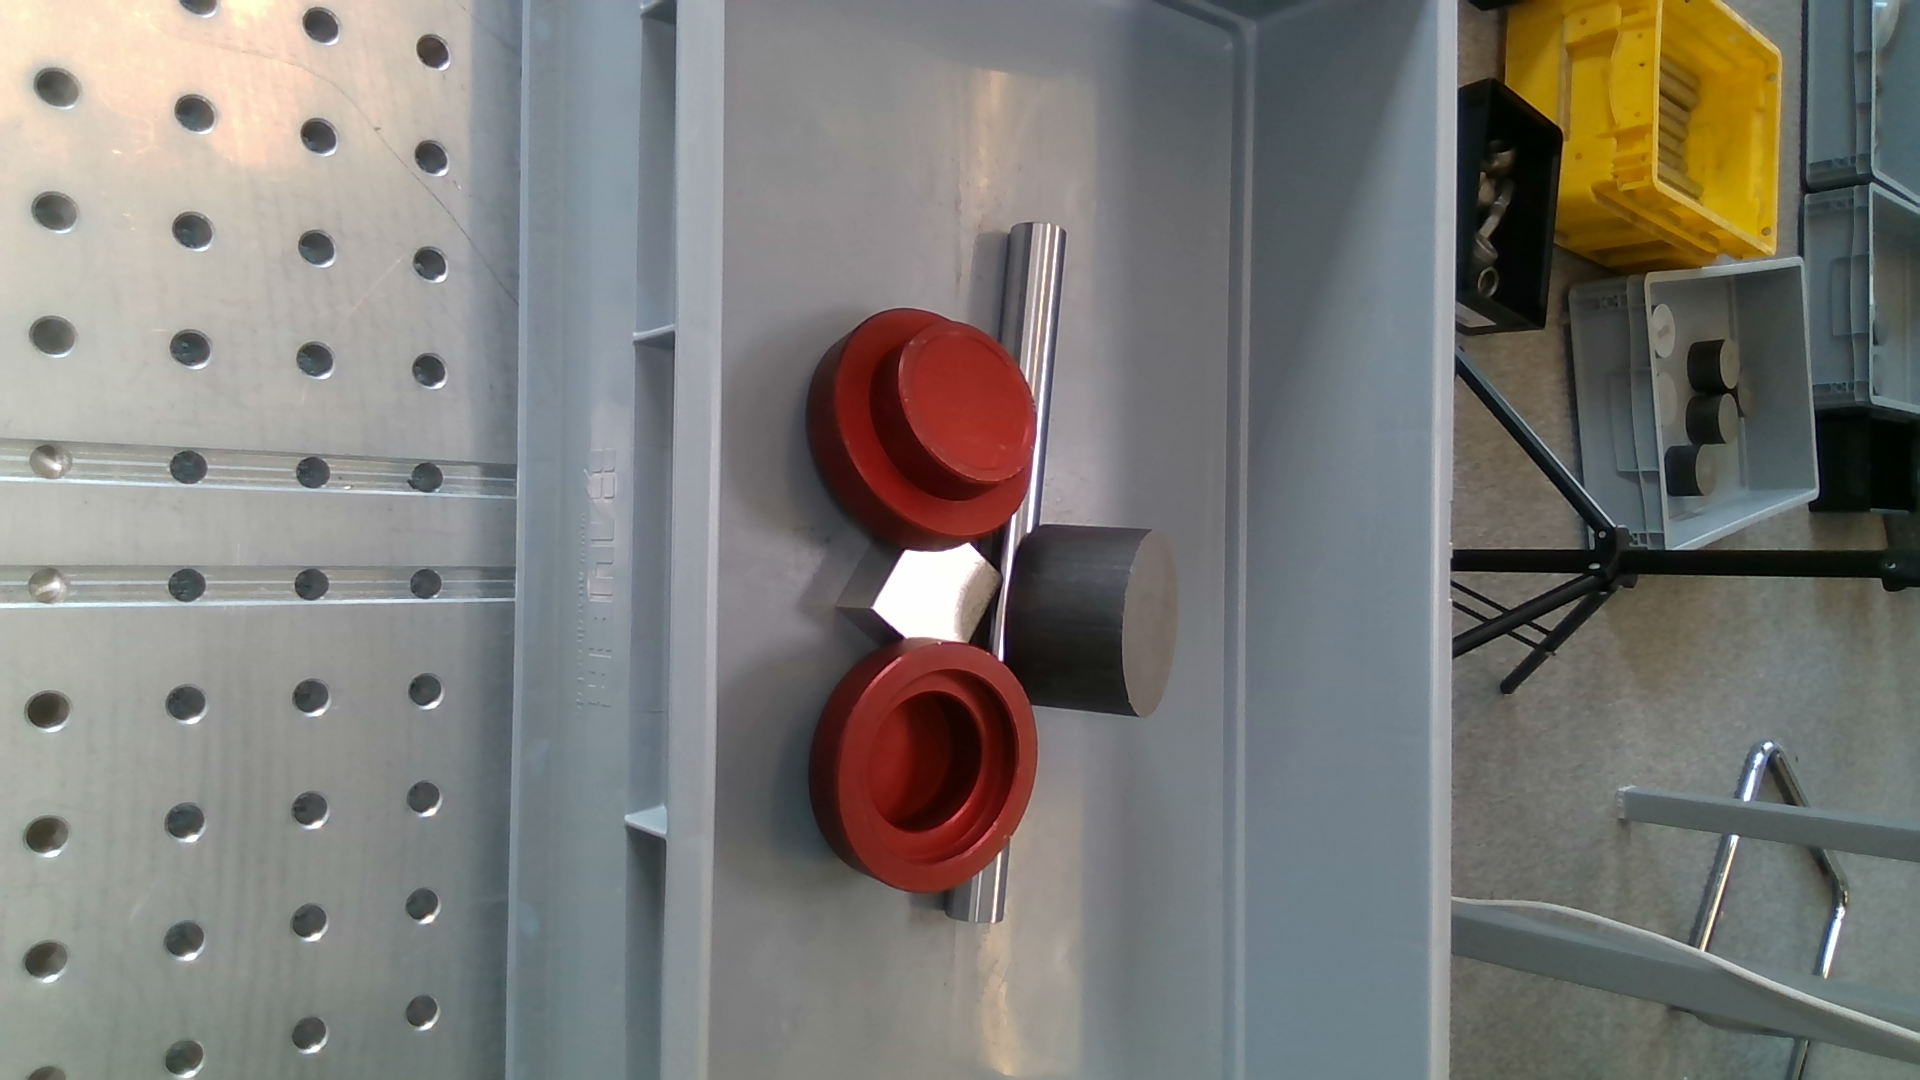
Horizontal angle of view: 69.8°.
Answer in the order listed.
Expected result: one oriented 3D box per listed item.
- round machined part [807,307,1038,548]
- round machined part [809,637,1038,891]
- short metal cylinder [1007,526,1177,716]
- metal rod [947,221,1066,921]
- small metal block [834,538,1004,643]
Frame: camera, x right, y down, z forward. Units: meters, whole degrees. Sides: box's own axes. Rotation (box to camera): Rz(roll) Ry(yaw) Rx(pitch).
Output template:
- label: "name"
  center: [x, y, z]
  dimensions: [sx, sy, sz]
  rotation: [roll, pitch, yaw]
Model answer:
- label: "round machined part"
  center: [-0.008, -0.048, 0.547]
  dimensions: [0.098, 0.042, 0.098]
  rotation: [16, 62, -34]
- label: "round machined part"
  center: [-0.019, 0.087, 0.552]
  dimensions: [0.098, 0.042, 0.098]
  rotation: [-3, 95, -38]
- label: "short metal cylinder"
  center: [0.059, 0.034, 0.596]
  dimensions: [0.080, 0.050, 0.080]
  rotation: [4, 90, -66]
- label: "metal rod"
  center: [0.021, 0.011, 0.599]
  dimensions: [0.025, 0.025, 0.300]
  rotation: [9, 84, -40]
- label: "small metal block"
  center: [-0.016, 0.021, 0.568]
  dimensions: [0.050, 0.025, 0.050]
  rotation: [44, 64, -31]
